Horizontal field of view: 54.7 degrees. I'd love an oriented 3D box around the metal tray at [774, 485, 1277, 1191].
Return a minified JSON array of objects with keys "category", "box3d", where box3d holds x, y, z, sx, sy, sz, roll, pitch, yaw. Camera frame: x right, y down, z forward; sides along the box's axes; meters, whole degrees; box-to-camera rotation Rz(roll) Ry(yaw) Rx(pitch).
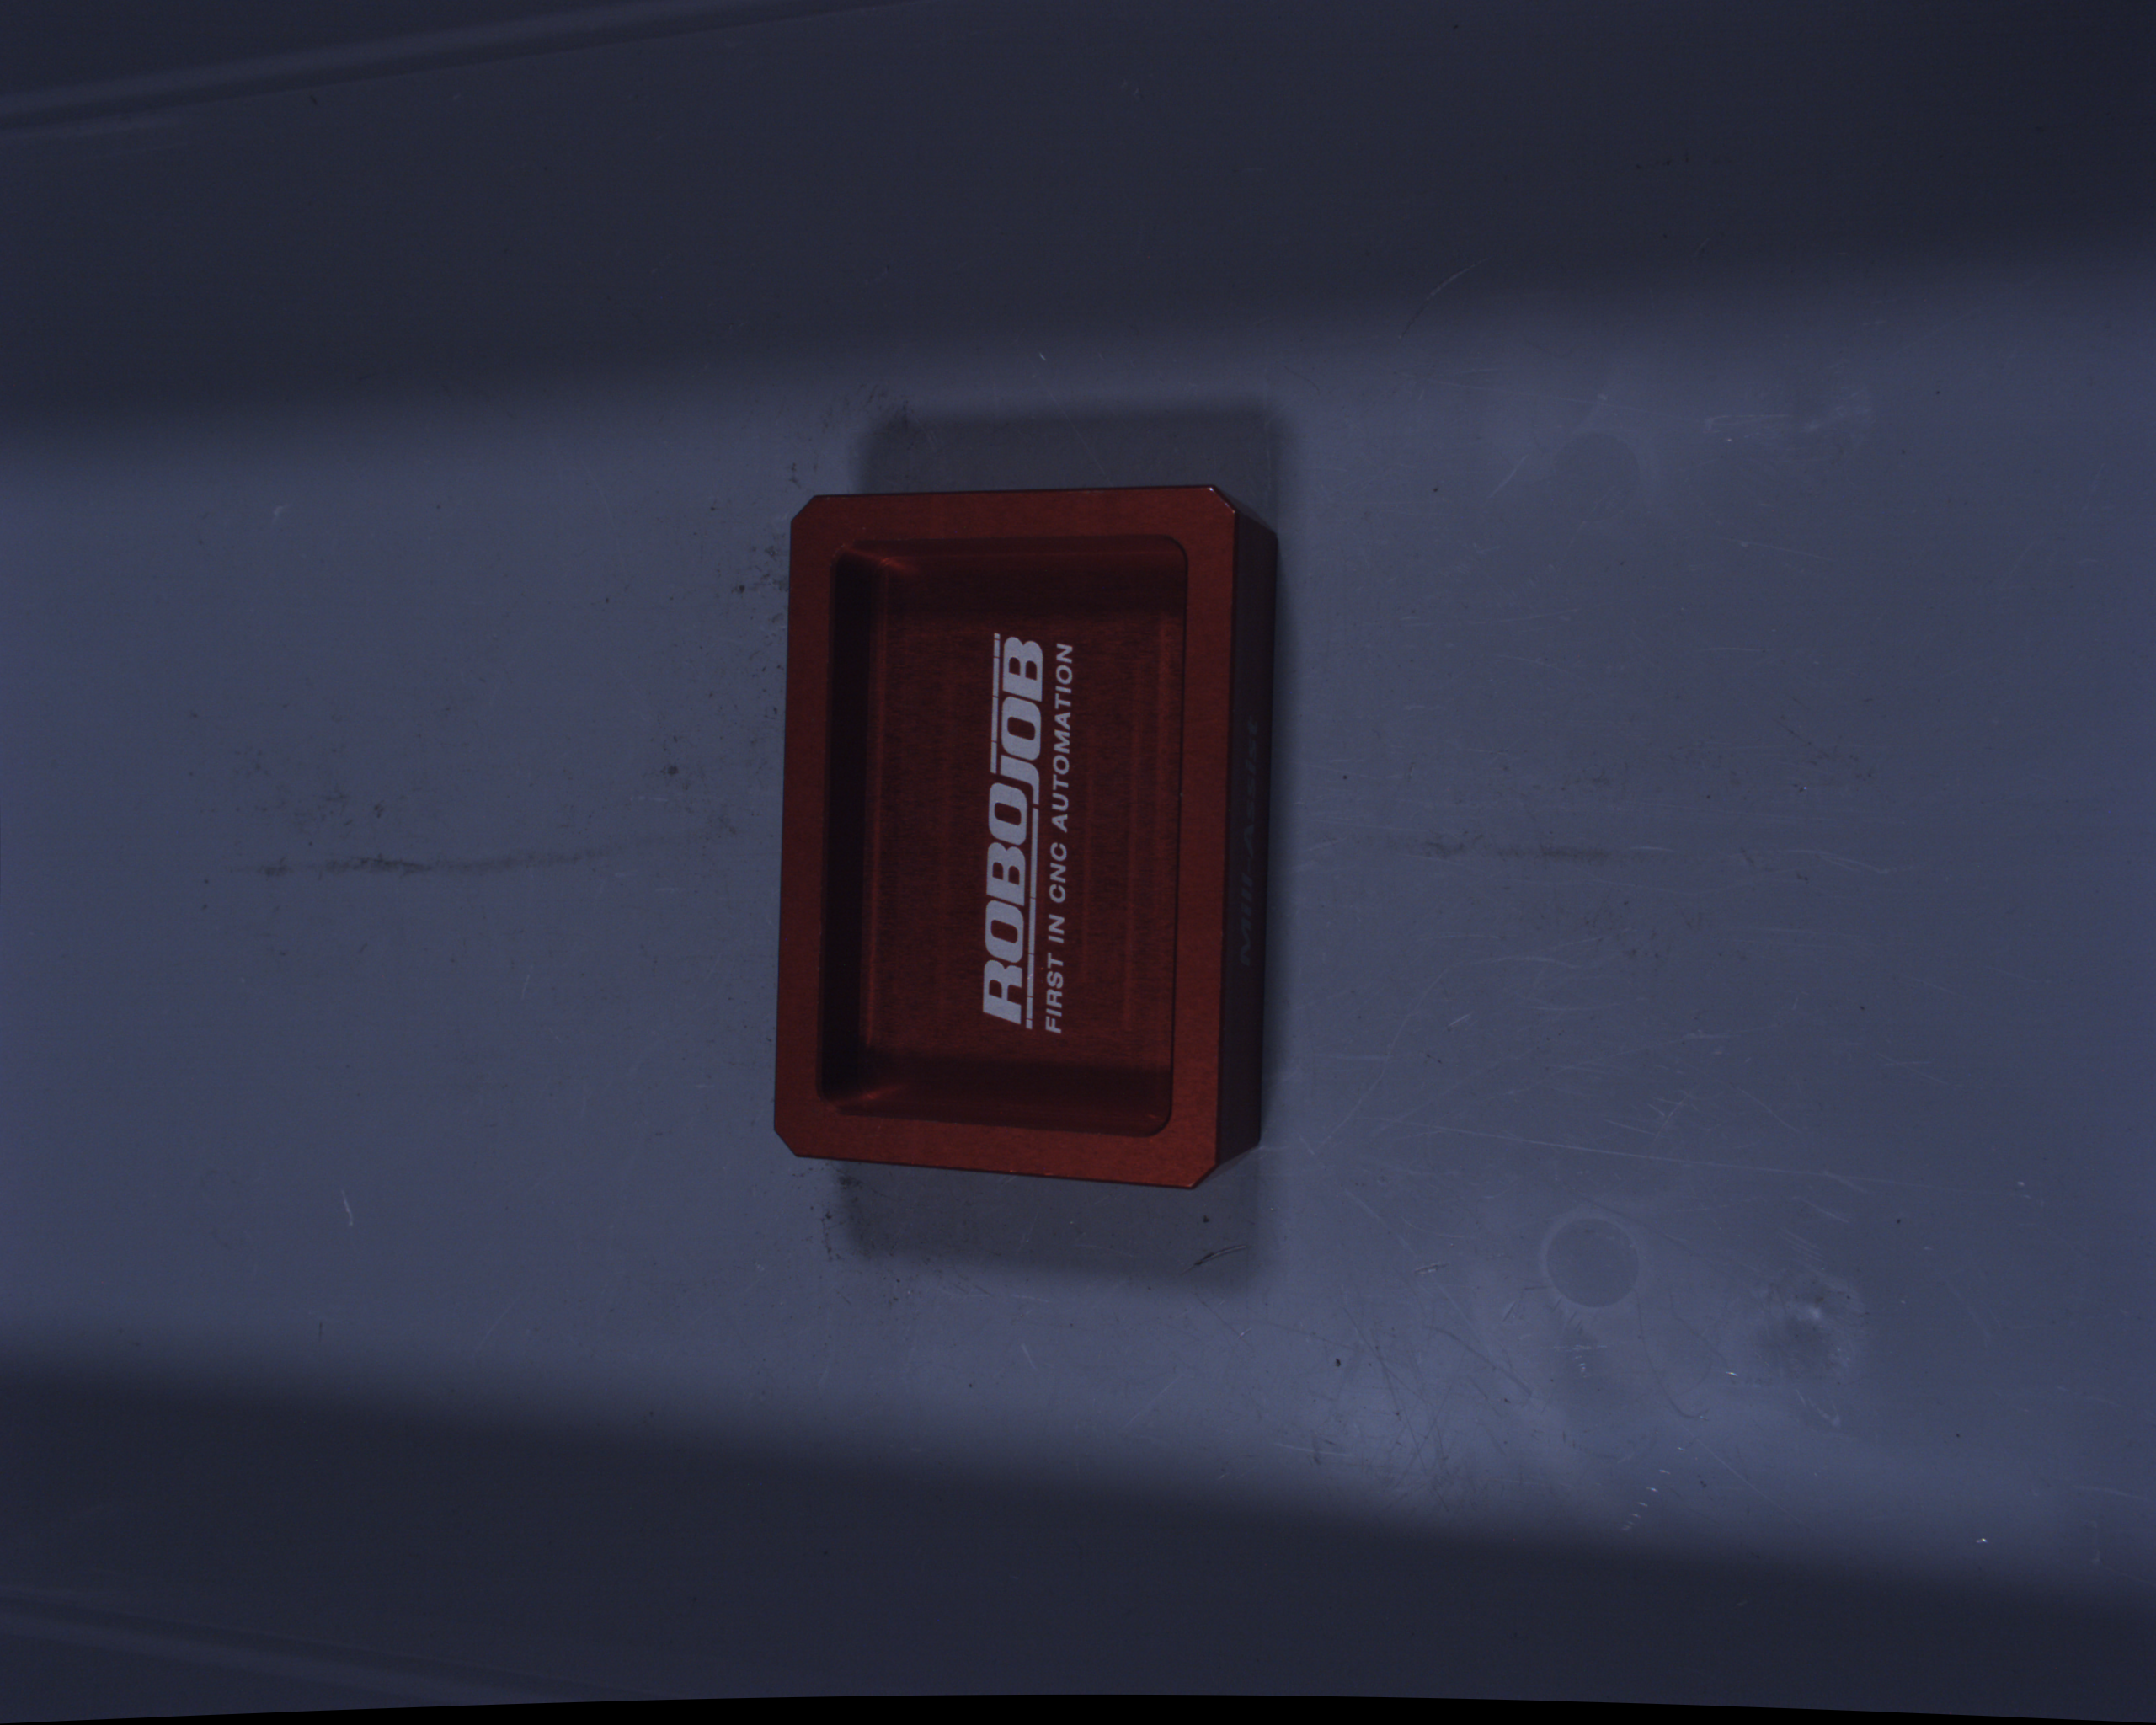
[{"category":"metal tray","box3d":[-0.010,-0.006,0.407,0.090,0.030,0.129,2,90,19]}]
